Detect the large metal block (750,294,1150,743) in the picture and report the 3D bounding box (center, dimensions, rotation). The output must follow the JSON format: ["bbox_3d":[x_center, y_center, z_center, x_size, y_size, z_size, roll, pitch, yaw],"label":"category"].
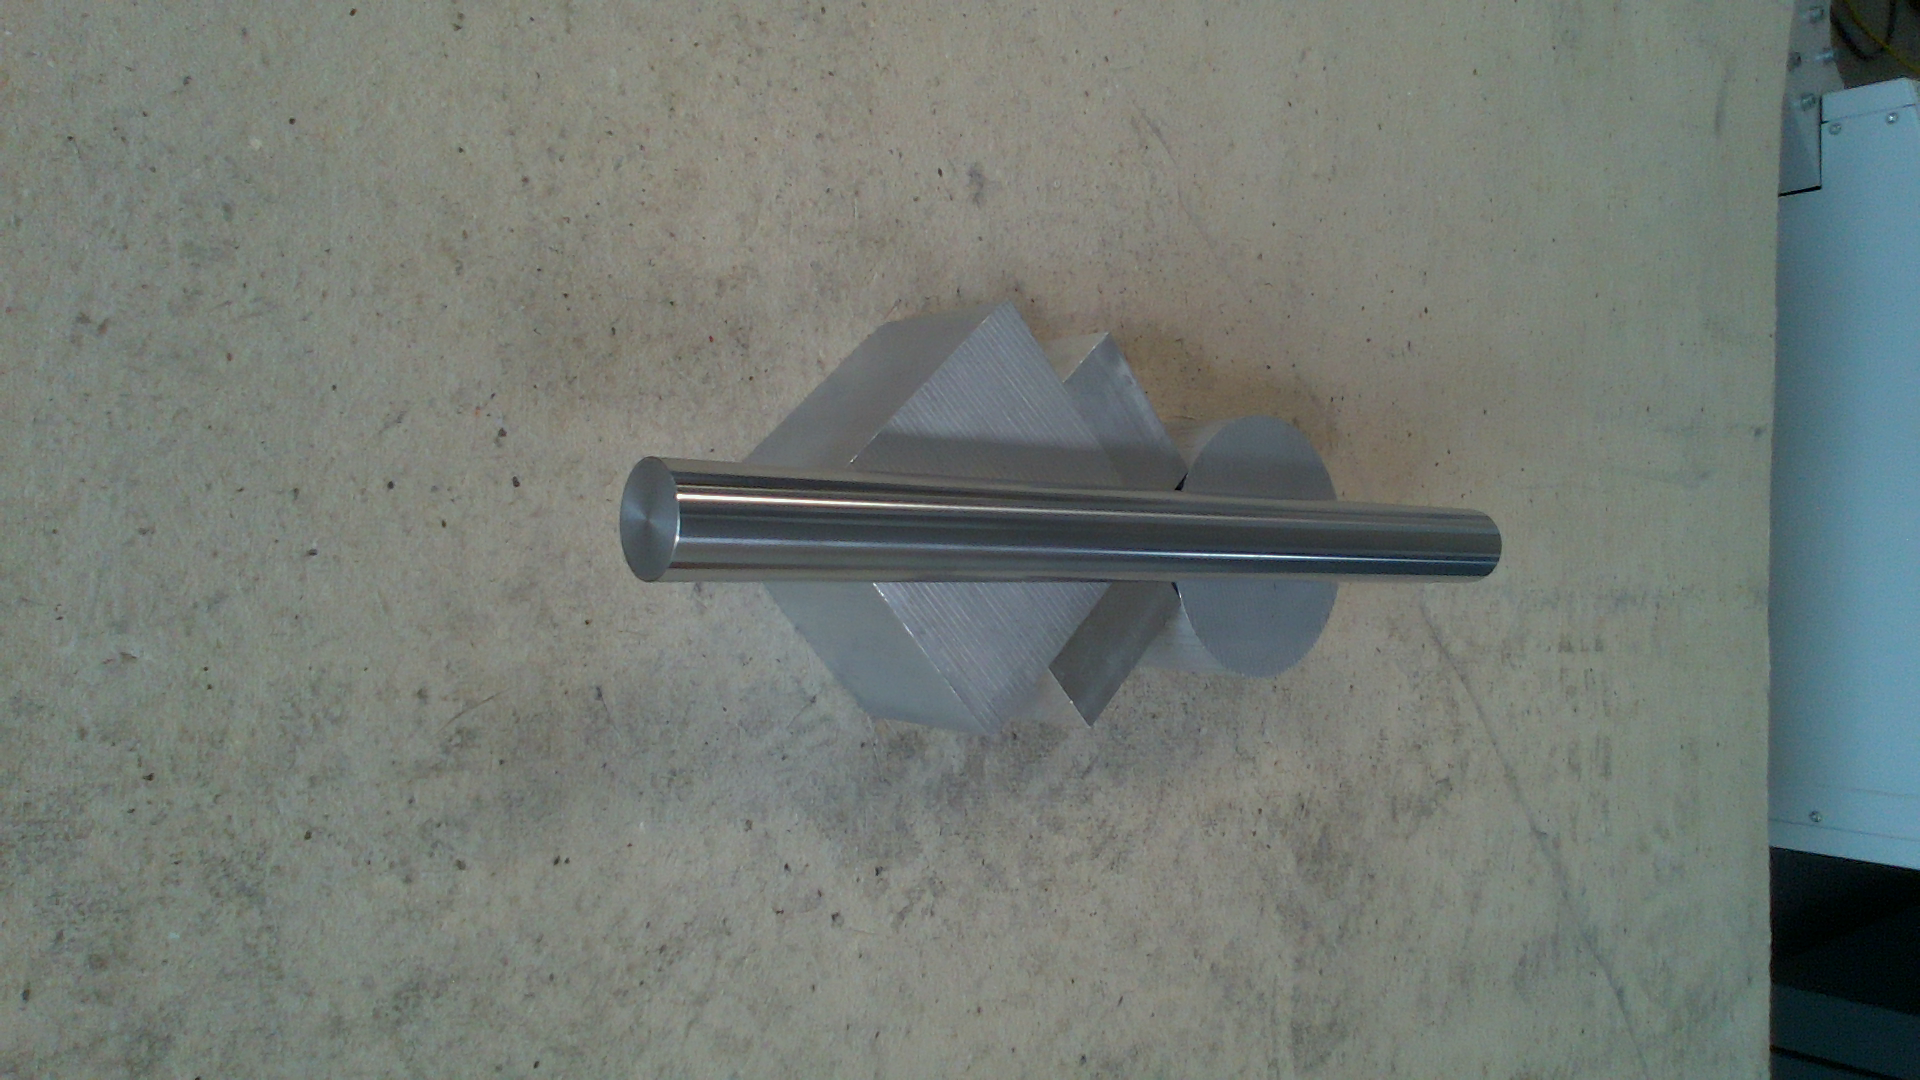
[{"bbox_3d":[-0.007,-0.006,0.365,0.080,0.050,0.080,-50,119,-28],"label":"large metal block"}]

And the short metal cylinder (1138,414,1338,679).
[{"bbox_3d":[0.076,0.002,0.435,0.080,0.050,0.080,0,90,-40],"label":"short metal cylinder"}]

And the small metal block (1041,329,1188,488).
[{"bbox_3d":[0.030,-0.031,0.398,0.025,0.050,0.050,-50,120,-28],"label":"small metal block"}]

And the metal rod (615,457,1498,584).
[{"bbox_3d":[0.054,-0.001,0.366,0.301,0.025,0.025,1,89,-40],"label":"metal rod"}]

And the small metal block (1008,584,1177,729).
[{"bbox_3d":[0.026,0.025,0.395,0.050,0.050,0.025,-50,120,-28],"label":"small metal block"}]
